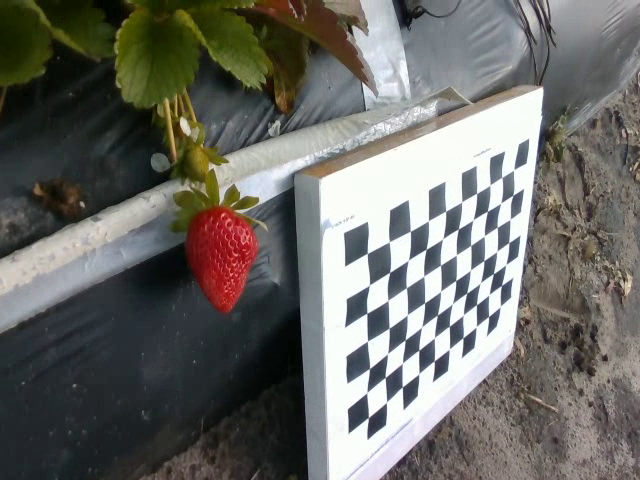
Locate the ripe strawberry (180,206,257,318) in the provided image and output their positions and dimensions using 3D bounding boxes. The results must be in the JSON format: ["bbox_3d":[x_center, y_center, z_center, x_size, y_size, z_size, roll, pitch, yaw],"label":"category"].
[{"bbox_3d":[-0.043,0.008,0.277,0.030,0.053,0.047,-9,-22,31],"label":"ripe strawberry"}]
